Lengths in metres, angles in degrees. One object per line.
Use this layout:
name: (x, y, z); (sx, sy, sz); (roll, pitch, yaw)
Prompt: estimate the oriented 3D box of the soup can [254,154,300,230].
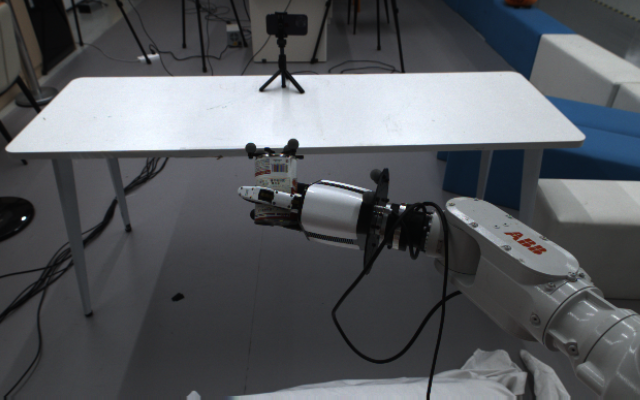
soup can: (-0.067, -0.014, 0.743); (0.067, 0.101, 0.067); (-1, -9, 0)
